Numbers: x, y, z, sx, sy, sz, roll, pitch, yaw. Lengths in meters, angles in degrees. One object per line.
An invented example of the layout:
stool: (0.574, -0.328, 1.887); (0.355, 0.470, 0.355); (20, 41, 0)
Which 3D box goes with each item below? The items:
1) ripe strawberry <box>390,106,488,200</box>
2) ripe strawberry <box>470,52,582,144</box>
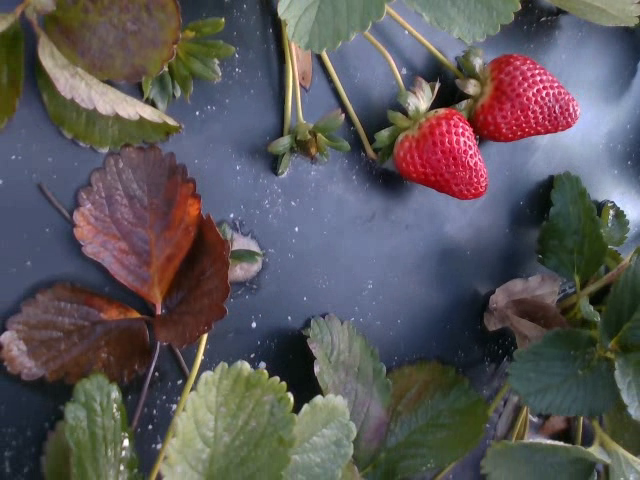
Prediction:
ripe strawberry: (0.067, -0.044, 0.343); (0.048, 0.056, 0.041); (-42, 4, -18)
ripe strawberry: (0.118, -0.076, 0.361); (0.064, 0.058, 0.051); (17, -1, 0)
